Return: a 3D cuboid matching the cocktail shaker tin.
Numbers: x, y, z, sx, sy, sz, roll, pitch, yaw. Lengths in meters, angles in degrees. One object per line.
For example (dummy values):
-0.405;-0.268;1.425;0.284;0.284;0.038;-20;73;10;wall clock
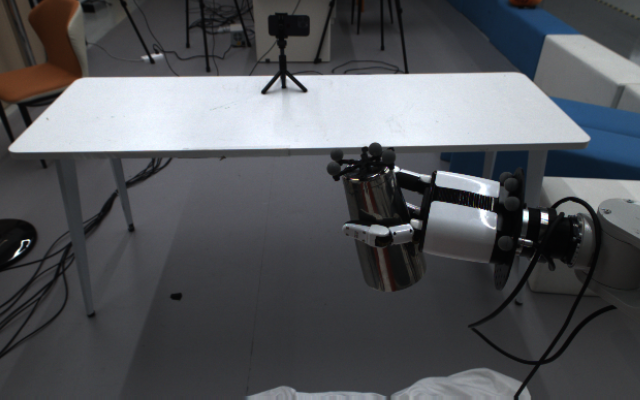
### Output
0.084;0.029;0.658;0.093;0.170;0.093;-15;29;8;cocktail shaker tin
